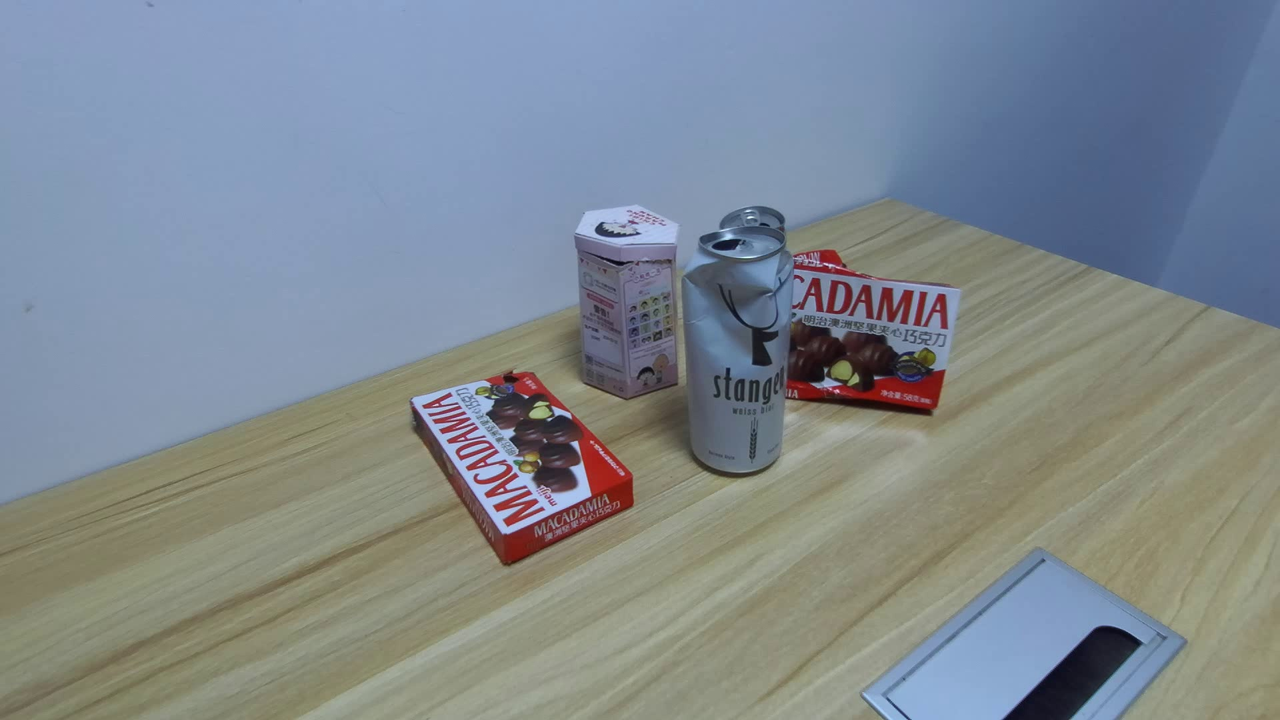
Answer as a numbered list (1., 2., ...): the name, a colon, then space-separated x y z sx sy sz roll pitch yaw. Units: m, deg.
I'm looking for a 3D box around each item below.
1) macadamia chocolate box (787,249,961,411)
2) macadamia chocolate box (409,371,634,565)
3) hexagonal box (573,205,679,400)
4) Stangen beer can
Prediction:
1. macadamia chocolate box: 0.173 -0.022 0.543 0.126 0.112 0.056 8 31 13
2. macadamia chocolate box: -0.092 0.062 0.516 0.103 0.027 0.186 -20 37 -28
3. hexagonal box: -0.009 -0.047 0.567 0.091 0.135 0.085 21 40 33
4. Stangen beer can: 0.065 -0.003 0.470 0.065 0.166 0.066 10 34 21
